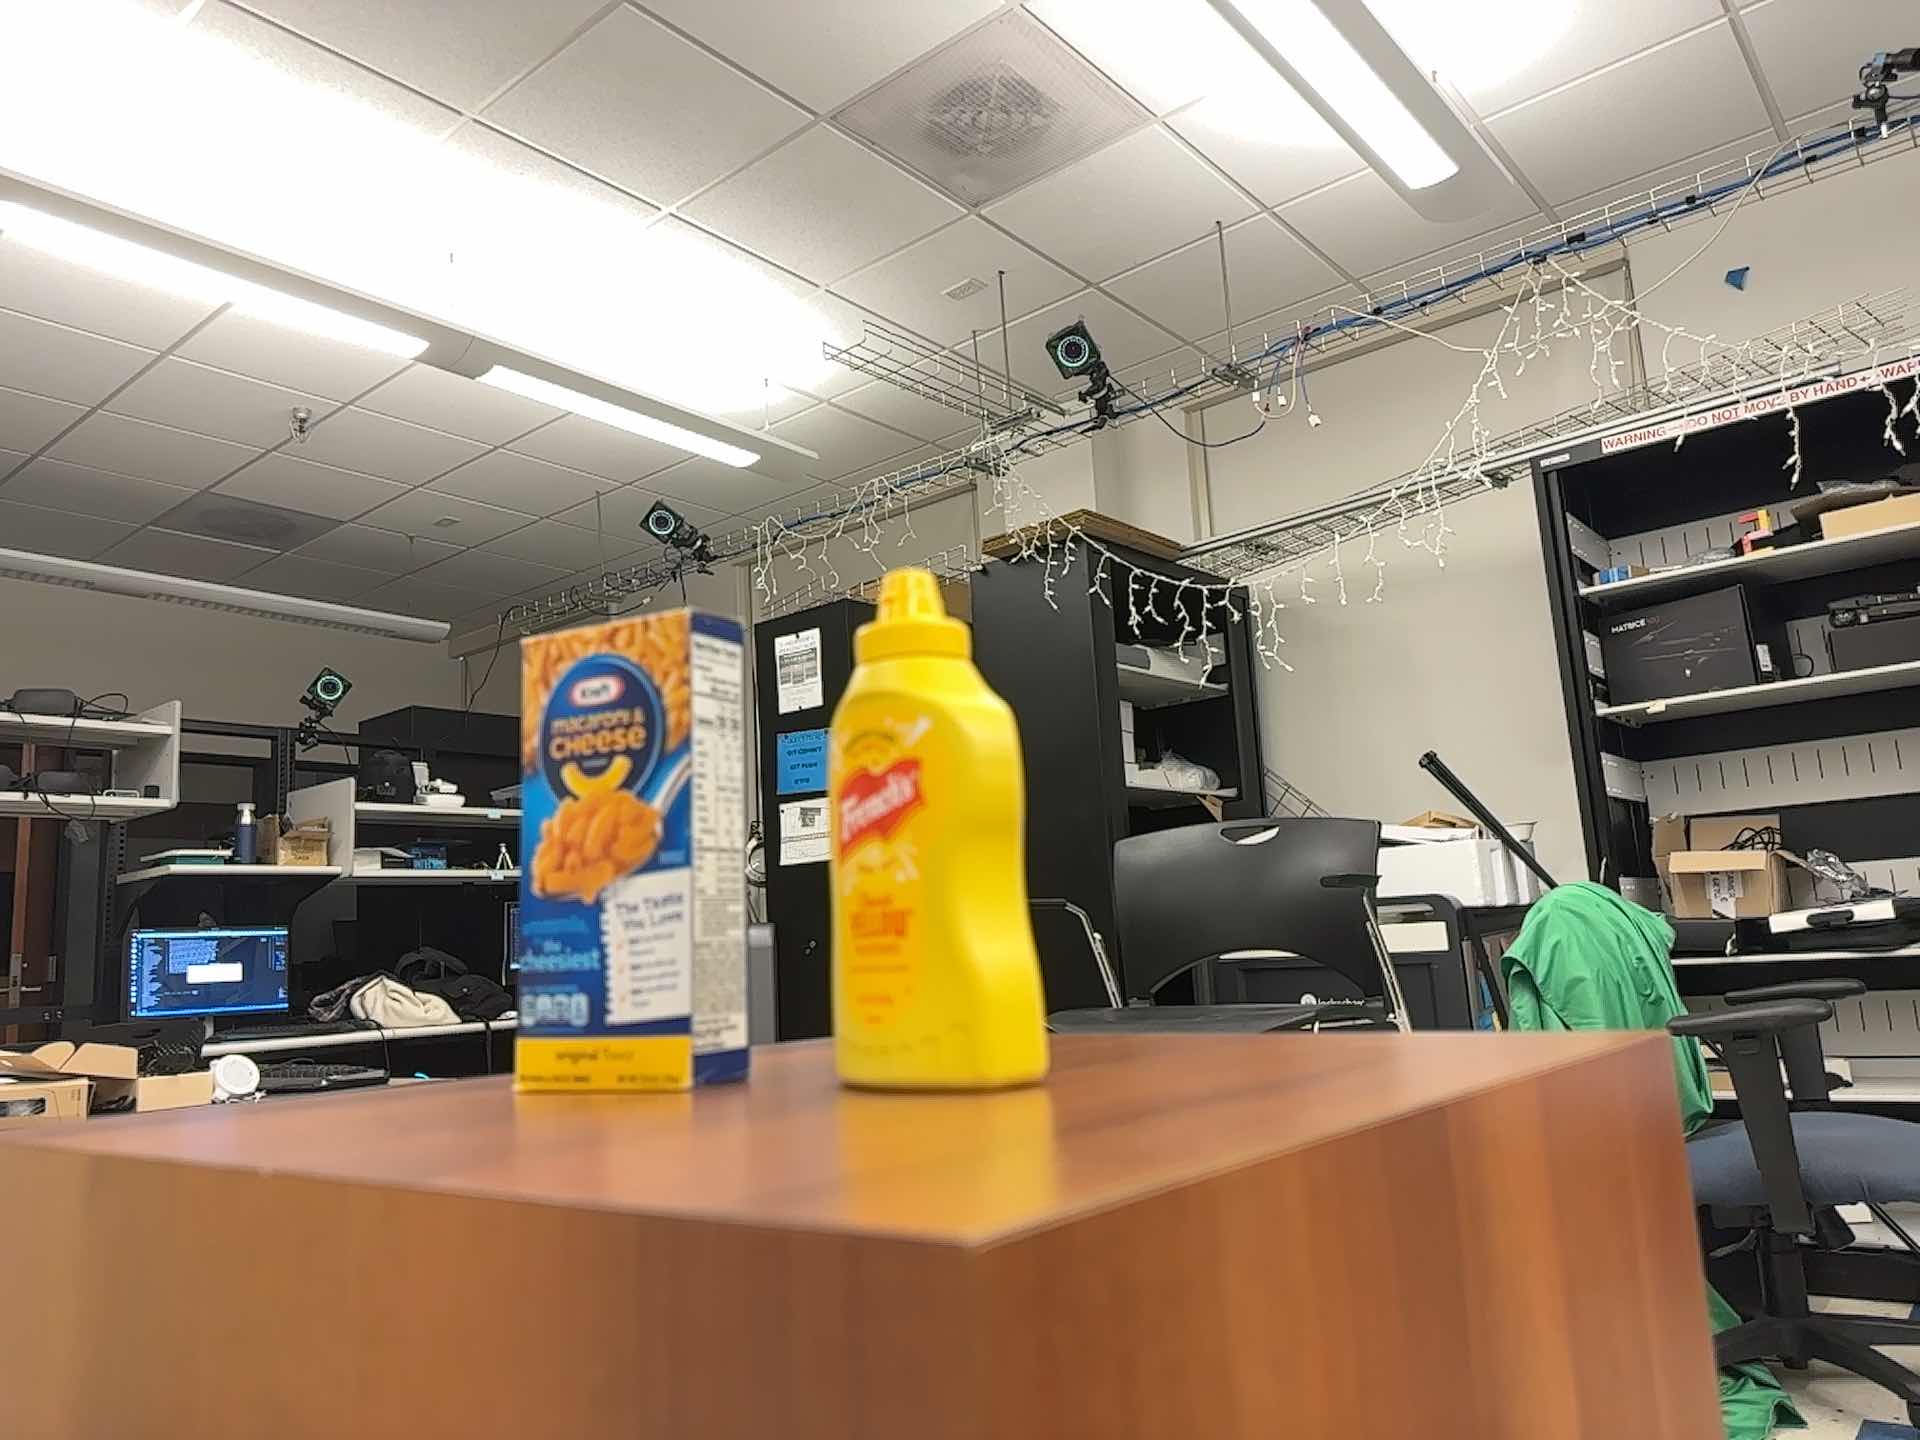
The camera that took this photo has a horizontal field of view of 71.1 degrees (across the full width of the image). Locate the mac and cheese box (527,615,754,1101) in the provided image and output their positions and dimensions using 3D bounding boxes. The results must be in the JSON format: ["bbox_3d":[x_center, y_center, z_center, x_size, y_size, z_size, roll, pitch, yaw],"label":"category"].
[{"bbox_3d":[-0.131,0.057,0.542,0.088,0.181,0.035,-11,-12,32],"label":"mac and cheese box"}]

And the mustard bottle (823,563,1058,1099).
[{"bbox_3d":[-0.013,0.034,0.466,0.054,0.184,0.092,2,-13,-33],"label":"mustard bottle"}]
